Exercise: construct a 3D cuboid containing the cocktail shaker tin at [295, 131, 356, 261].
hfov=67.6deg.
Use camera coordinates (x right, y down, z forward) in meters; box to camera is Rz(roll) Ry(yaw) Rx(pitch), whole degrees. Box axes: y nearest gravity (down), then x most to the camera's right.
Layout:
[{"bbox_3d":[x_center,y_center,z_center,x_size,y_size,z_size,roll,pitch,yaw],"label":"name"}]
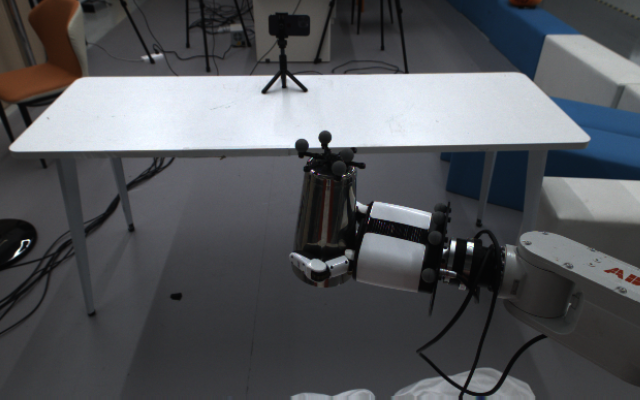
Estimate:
[{"bbox_3d":[0.010,0.025,0.661,0.093,0.170,0.093,3,34,-2],"label":"cocktail shaker tin"}]
